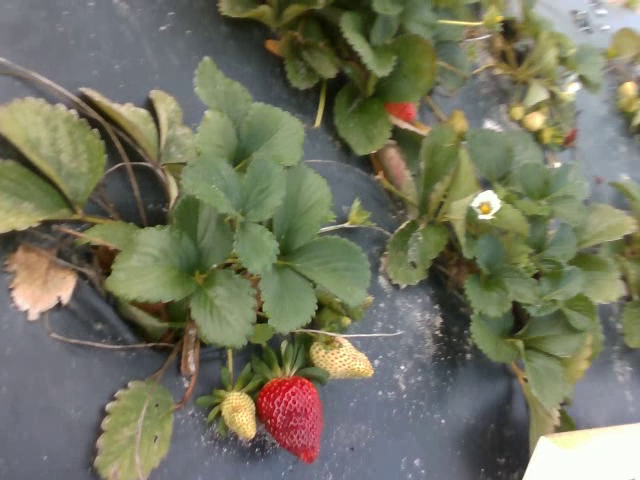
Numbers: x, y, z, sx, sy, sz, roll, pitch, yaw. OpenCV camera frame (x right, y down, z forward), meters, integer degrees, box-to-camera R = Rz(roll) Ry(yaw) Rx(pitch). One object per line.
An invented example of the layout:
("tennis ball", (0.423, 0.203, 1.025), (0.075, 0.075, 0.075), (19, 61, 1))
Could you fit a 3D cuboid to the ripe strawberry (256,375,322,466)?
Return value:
("ripe strawberry", (-0.015, 0.111, 0.353), (0.047, 0.045, 0.059), (2, 39, -30))
